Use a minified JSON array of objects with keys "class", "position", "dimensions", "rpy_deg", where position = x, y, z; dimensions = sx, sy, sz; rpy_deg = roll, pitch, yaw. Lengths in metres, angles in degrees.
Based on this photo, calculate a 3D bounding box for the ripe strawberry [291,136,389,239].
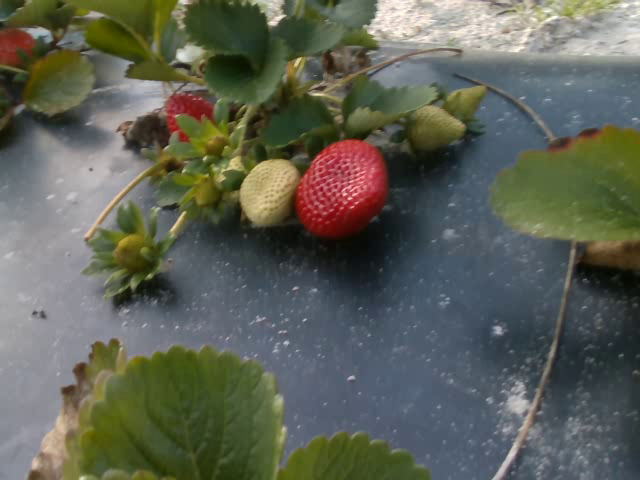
[{"class":"ripe strawberry","position":[0.011,-0.020,0.272],"dimensions":[0.048,0.051,0.055],"rpy_deg":[34,6,-13]}]
